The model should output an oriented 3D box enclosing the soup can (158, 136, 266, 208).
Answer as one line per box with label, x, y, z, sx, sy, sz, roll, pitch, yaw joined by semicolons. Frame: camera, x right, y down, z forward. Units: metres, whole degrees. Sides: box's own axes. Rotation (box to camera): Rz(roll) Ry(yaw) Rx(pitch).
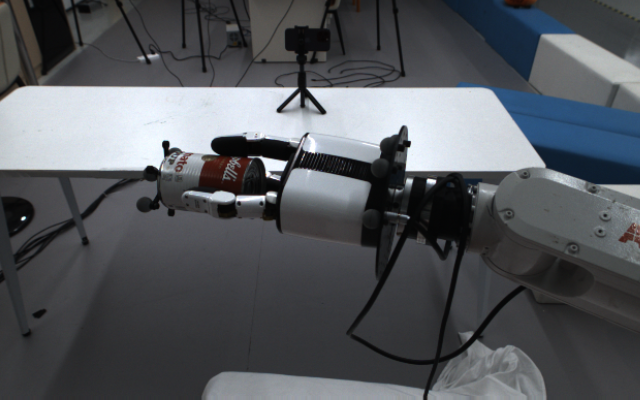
soup can;-0.116;-0.017;0.540;0.101;0.067;0.067;6;35;12
